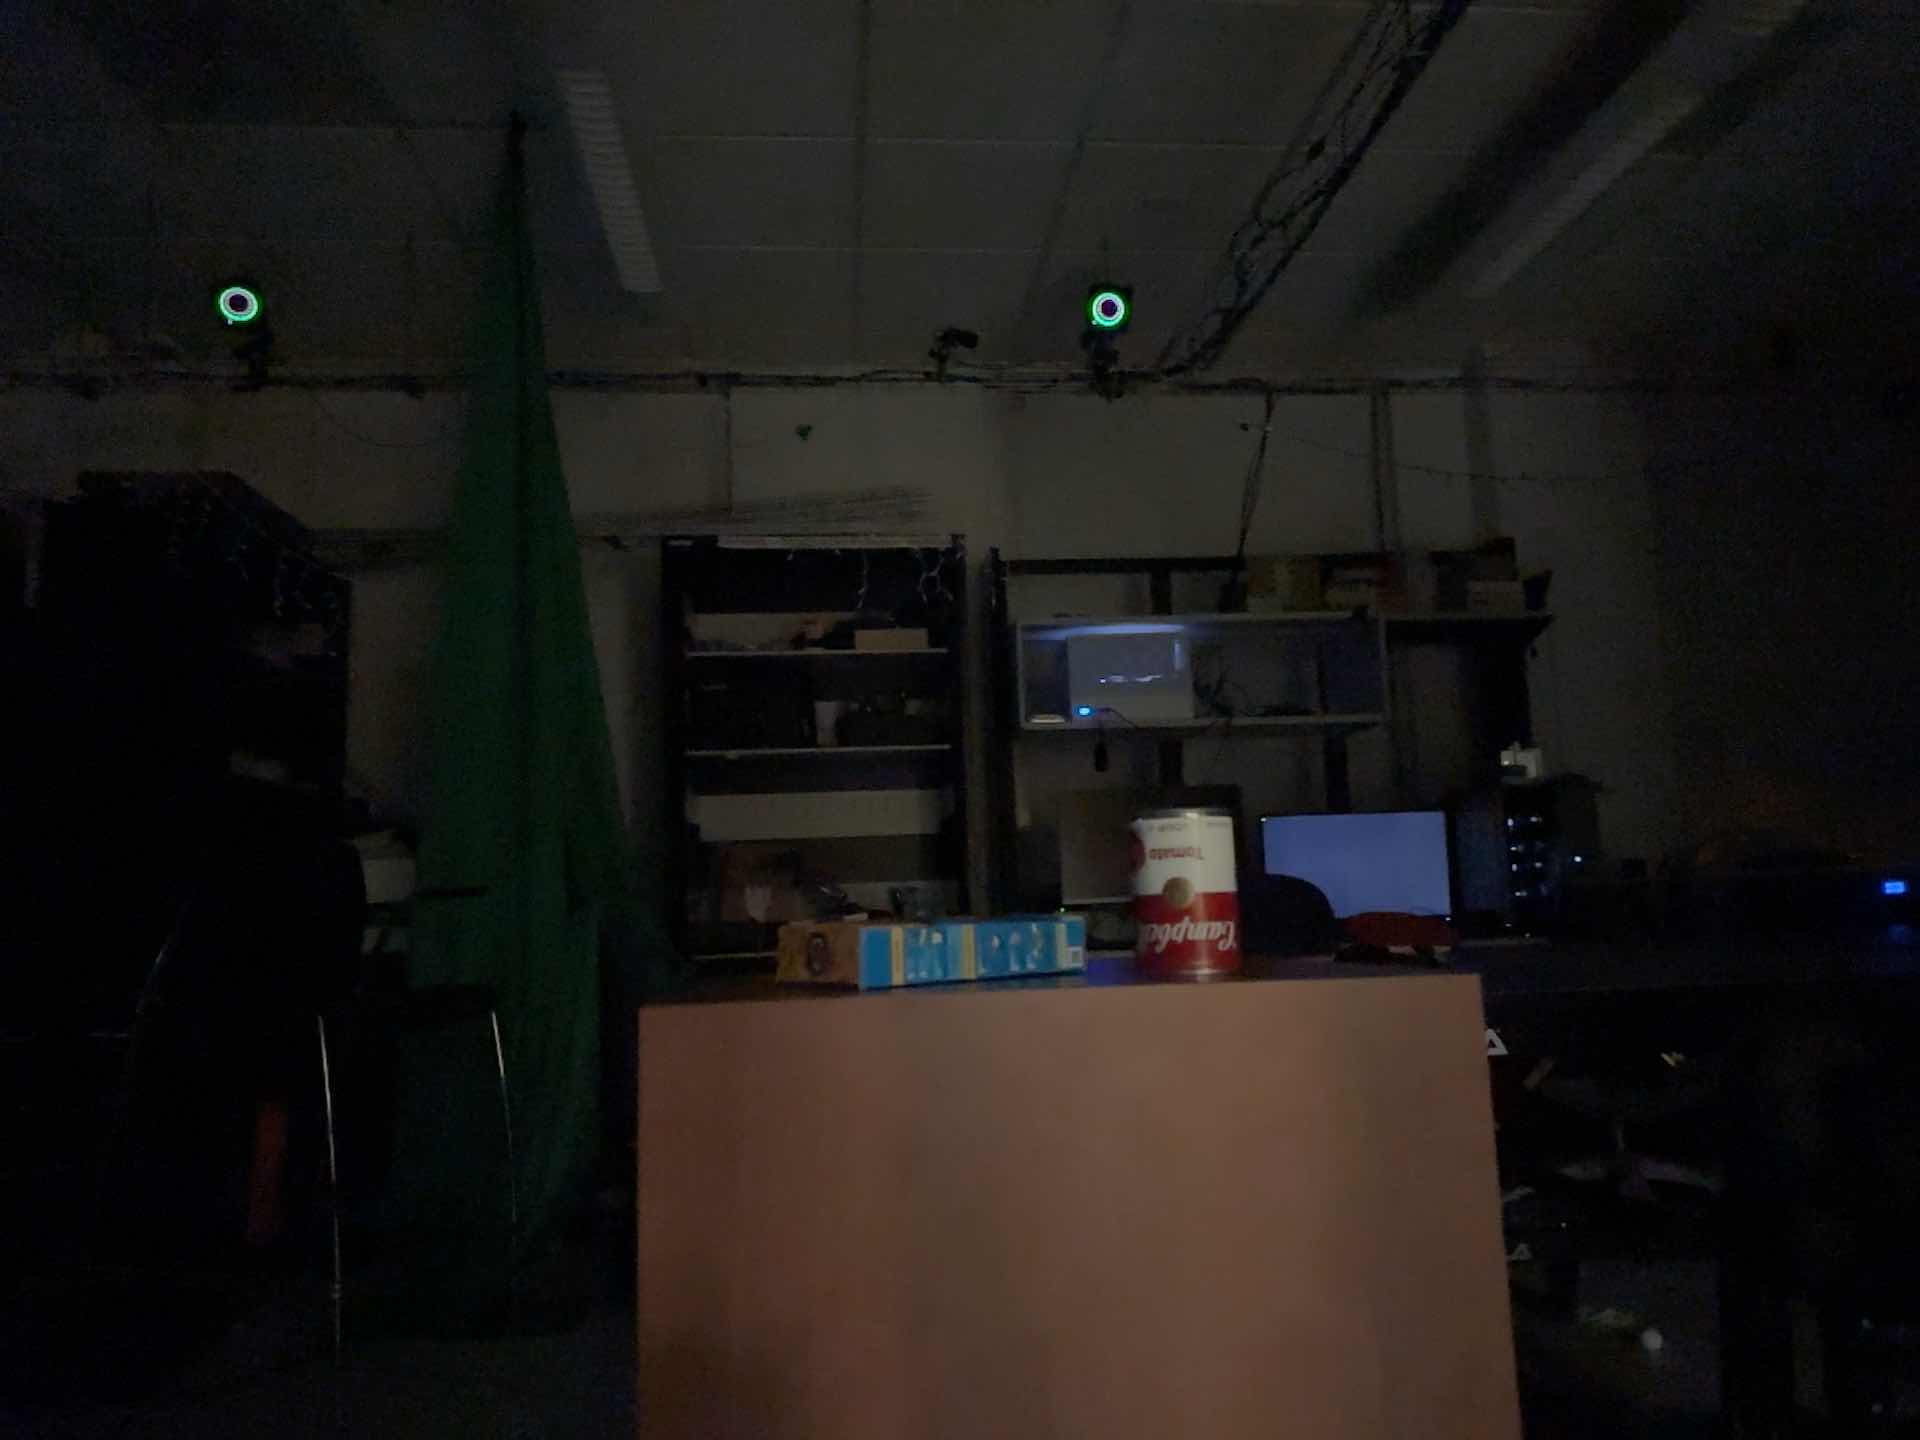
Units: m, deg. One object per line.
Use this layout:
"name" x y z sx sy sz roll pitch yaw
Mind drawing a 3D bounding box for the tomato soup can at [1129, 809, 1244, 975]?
"tomato soup can" 0.144 0.108 0.858 0.067 0.102 0.067 -2 -6 0

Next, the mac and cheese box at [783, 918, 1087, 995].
"mac and cheese box" -0.013 0.150 0.869 0.181 0.035 0.088 5 -8 -41
